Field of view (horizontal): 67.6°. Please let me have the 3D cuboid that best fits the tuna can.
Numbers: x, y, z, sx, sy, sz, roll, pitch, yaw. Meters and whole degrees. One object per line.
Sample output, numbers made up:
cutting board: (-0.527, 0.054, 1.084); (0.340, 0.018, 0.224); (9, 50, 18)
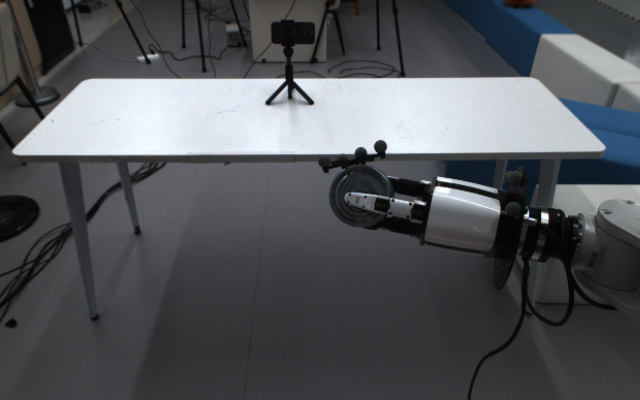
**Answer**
tuna can: (0.060, -0.001, 0.652); (0.085, 0.085, 0.034); (12, 3, 14)
